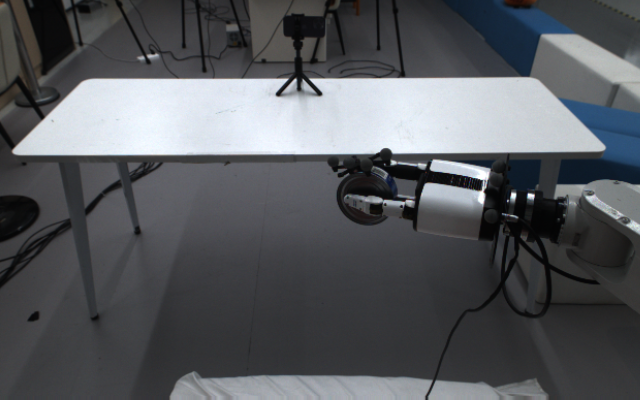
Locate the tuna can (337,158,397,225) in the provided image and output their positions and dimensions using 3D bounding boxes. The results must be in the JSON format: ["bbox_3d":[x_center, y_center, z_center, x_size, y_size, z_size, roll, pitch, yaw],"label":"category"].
[{"bbox_3d":[0.071,-0.008,0.713,0.085,0.085,0.034,13,29,15],"label":"tuna can"}]
